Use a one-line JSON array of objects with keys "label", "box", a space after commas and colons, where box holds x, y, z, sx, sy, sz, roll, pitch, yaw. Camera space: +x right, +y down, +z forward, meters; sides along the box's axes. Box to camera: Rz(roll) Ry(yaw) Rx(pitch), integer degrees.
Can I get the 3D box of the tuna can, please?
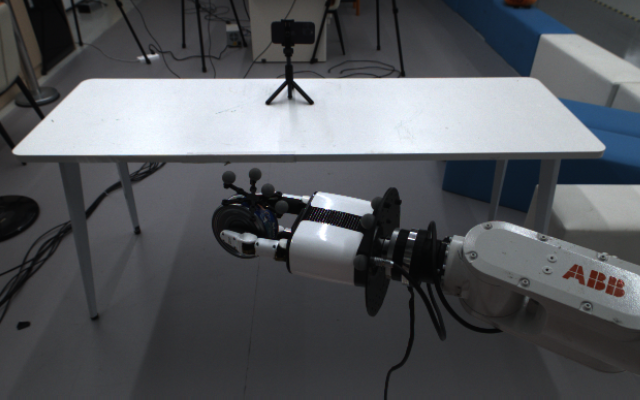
[{"label": "tuna can", "box": [-0.097, 0.042, 0.644, 0.085, 0.085, 0.034, 15, 31, 18]}]
